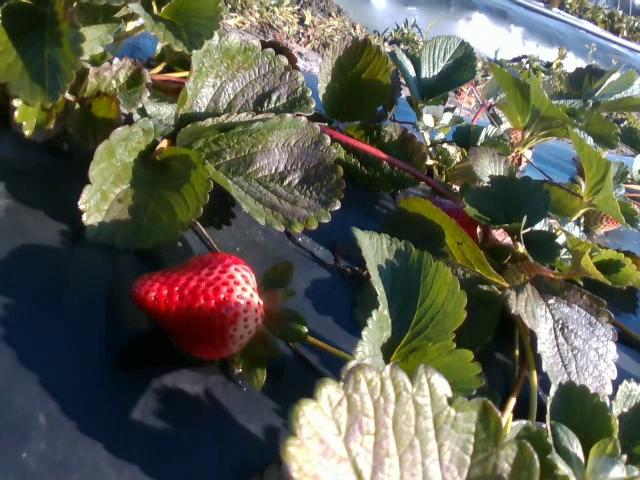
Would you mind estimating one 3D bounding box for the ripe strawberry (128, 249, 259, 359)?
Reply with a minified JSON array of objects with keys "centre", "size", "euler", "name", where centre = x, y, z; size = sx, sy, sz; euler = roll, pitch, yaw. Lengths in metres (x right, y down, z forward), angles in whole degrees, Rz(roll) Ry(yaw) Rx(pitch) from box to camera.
[{"centre":[-0.041,0.021,0.204],"size":[0.056,0.042,0.045],"euler":[15,-20,-38],"name":"ripe strawberry"}]
